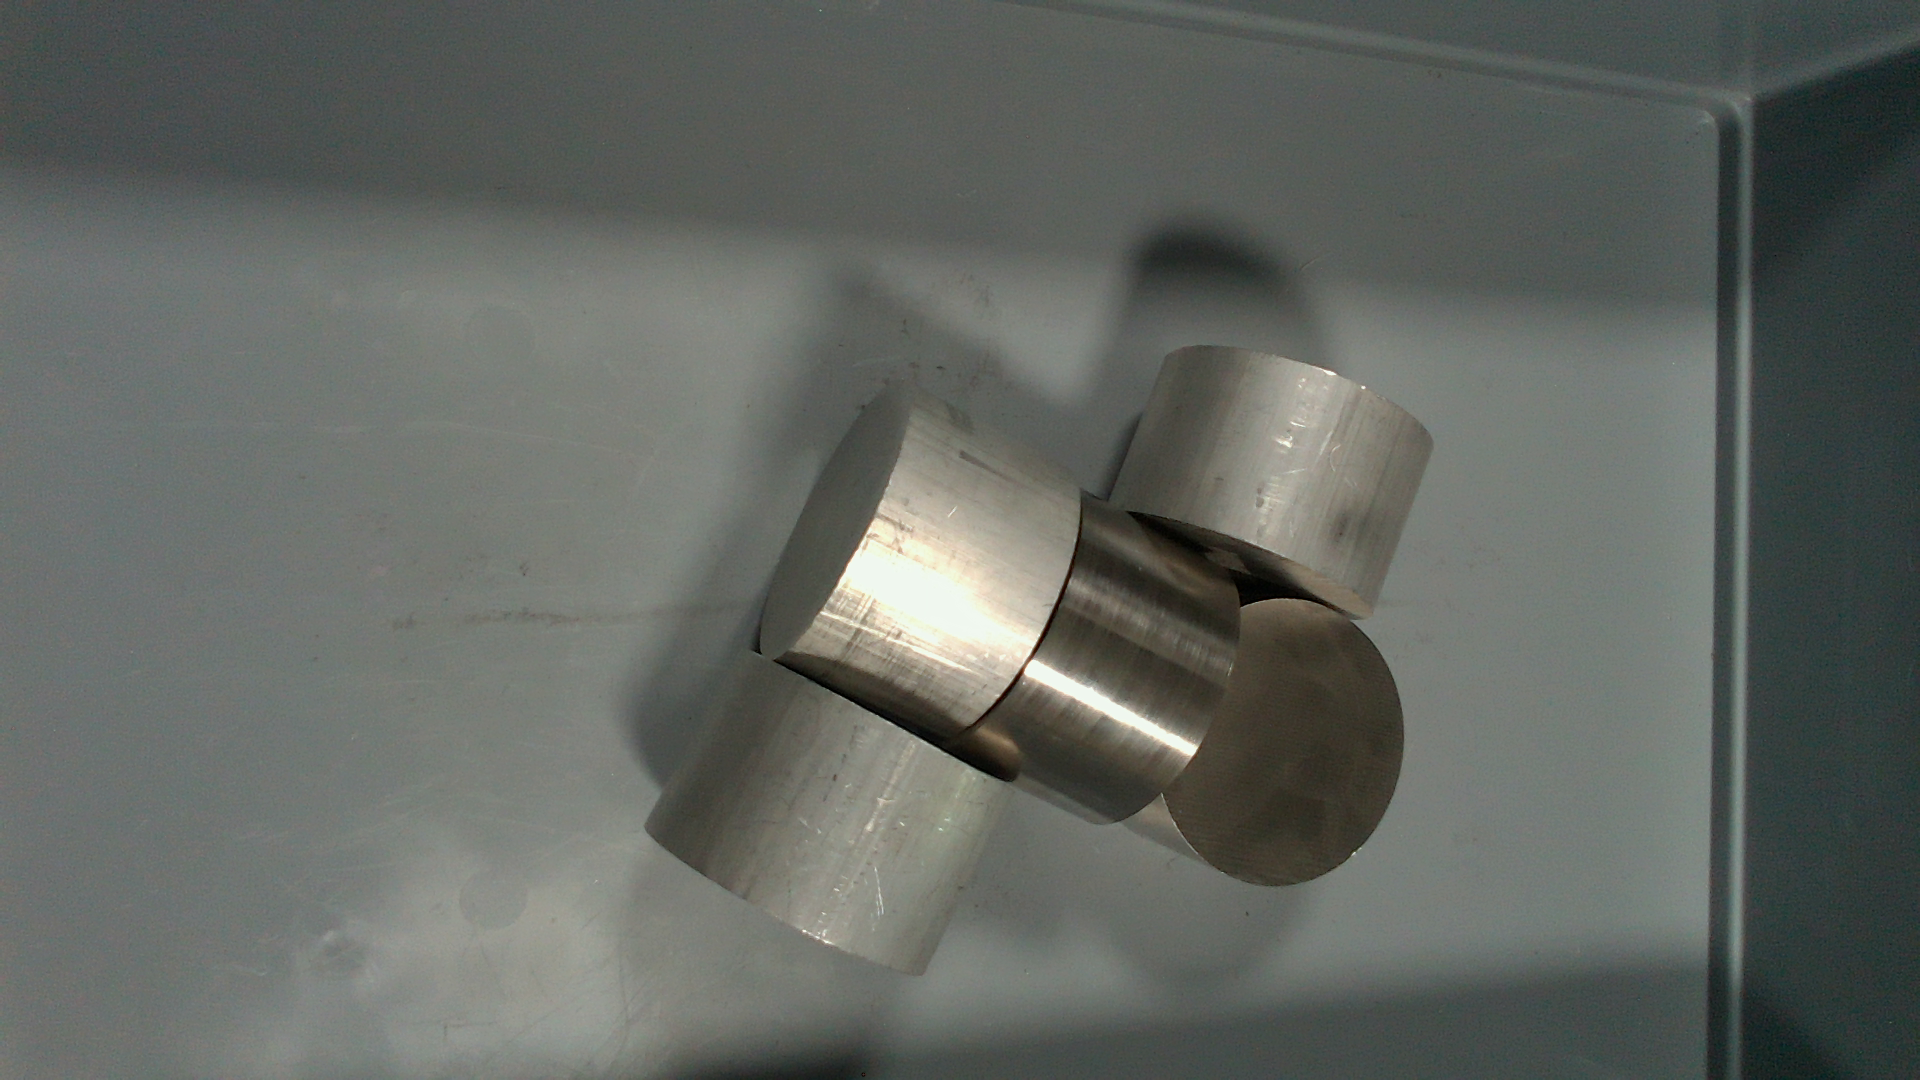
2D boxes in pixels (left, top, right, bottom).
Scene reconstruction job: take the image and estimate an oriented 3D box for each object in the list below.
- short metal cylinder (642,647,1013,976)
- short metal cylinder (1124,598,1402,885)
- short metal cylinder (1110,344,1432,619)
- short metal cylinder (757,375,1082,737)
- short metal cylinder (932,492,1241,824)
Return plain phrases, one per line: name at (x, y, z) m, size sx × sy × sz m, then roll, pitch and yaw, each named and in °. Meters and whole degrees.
short metal cylinder at (-0.033, 0.068, 0.351) m, size 0.080 × 0.080 × 0.050 m, roll 31°, pitch 80°, yaw -17°
short metal cylinder at (0.082, 0.056, 0.409) m, size 0.080 × 0.050 × 0.080 m, roll 0°, pitch 90°, yaw -20°
short metal cylinder at (0.087, -0.016, 0.395) m, size 0.080 × 0.080 × 0.050 m, roll 24°, pitch 82°, yaw -18°
short metal cylinder at (-0.012, 0.004, 0.359) m, size 0.050 × 0.080 × 0.080 m, roll 27°, pitch 81°, yaw -18°
short metal cylinder at (0.031, 0.030, 0.375) m, size 0.050 × 0.080 × 0.080 m, roll 28°, pitch 81°, yaw -18°
